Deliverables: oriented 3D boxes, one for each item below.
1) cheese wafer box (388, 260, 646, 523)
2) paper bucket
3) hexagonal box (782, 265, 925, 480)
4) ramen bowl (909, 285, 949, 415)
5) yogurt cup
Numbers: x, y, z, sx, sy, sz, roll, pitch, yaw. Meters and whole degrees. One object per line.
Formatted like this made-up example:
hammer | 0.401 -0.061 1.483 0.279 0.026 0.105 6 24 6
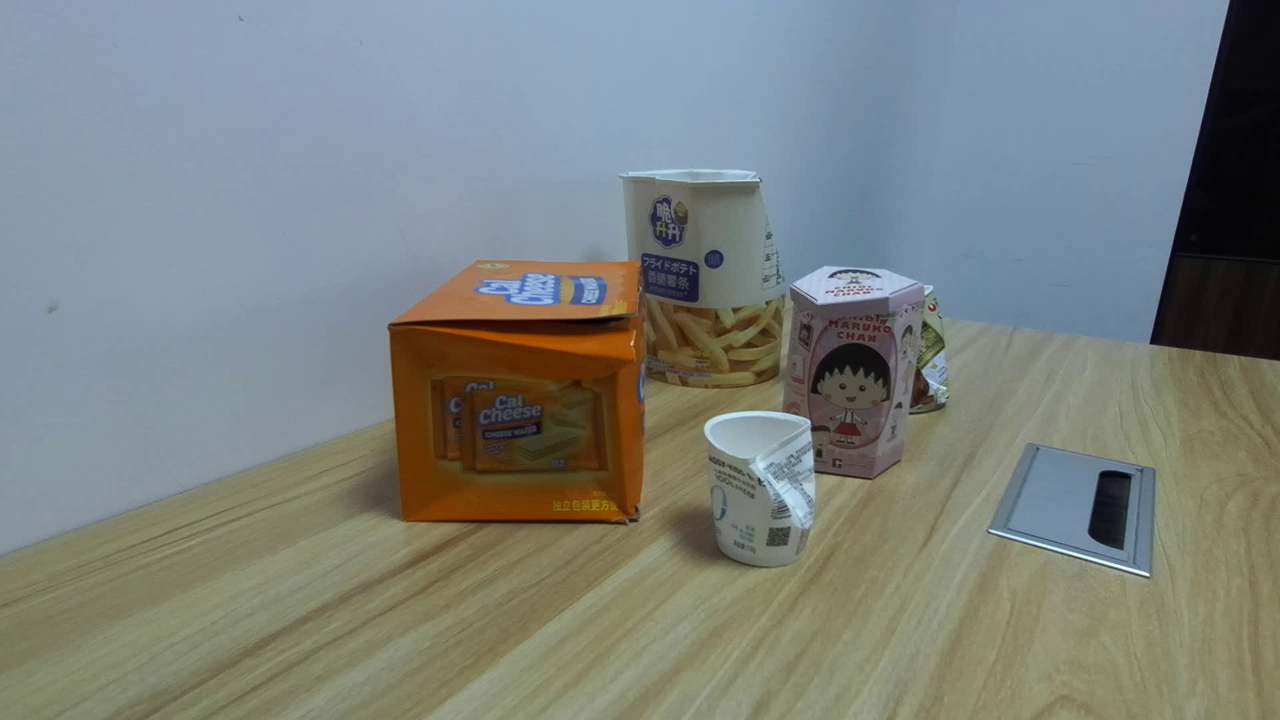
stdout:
cheese wafer box | -0.072 0.007 0.516 0.149 0.137 0.227 1 17 1
paper bucket | 0.075 -0.083 0.697 0.169 0.202 0.162 -8 21 -18
hexagonal box | 0.151 0.007 0.513 0.092 0.135 0.085 6 18 16
ramen bowl | 0.227 -0.016 0.661 0.137 0.098 0.137 0 17 0
yogurt cup | 0.068 0.073 0.404 0.067 0.070 0.067 -2 19 1
